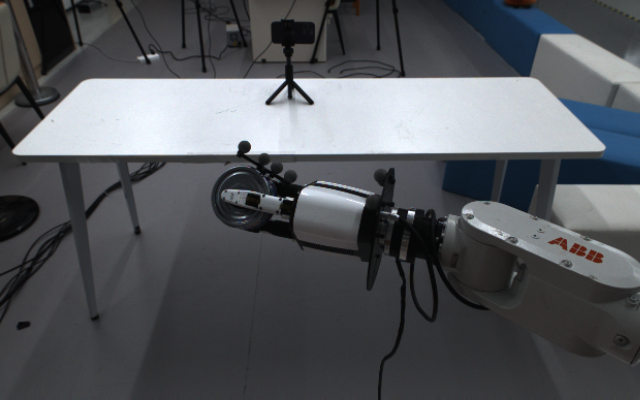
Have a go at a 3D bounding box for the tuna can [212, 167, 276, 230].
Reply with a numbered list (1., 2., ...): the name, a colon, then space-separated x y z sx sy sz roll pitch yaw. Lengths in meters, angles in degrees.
1. tuna can: -0.099 0.003 0.652 0.085 0.085 0.034 13 -4 15
